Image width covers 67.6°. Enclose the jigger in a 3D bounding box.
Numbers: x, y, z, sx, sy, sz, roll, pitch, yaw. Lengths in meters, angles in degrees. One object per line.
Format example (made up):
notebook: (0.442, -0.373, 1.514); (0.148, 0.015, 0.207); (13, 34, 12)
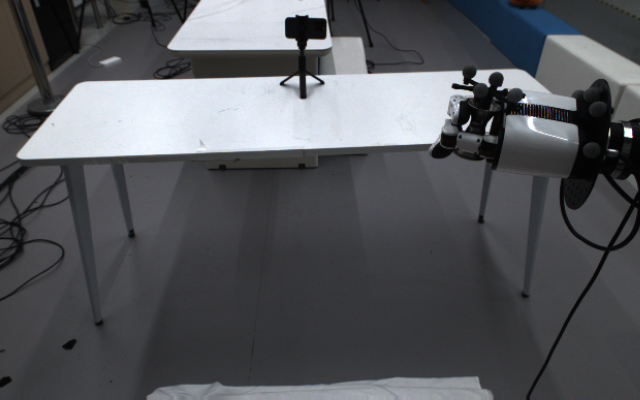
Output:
jigger: (0.200, -0.090, 0.620); (0.043, 0.071, 0.043); (7, 32, -4)
